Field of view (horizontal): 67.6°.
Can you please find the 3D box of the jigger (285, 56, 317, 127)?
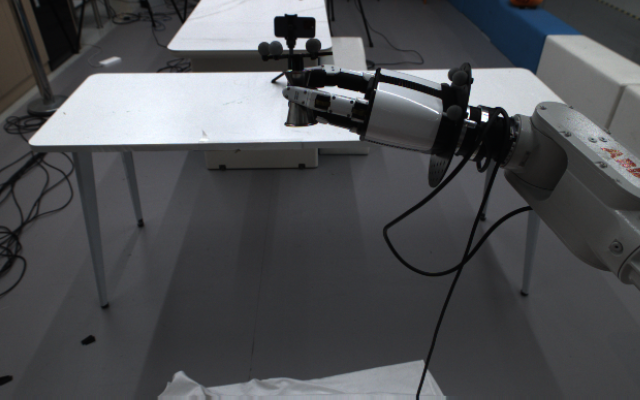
[{"bbox_3d":[-0.026,-0.131,0.619,0.043,0.071,0.043,-2,19,1],"label":"jigger"}]
